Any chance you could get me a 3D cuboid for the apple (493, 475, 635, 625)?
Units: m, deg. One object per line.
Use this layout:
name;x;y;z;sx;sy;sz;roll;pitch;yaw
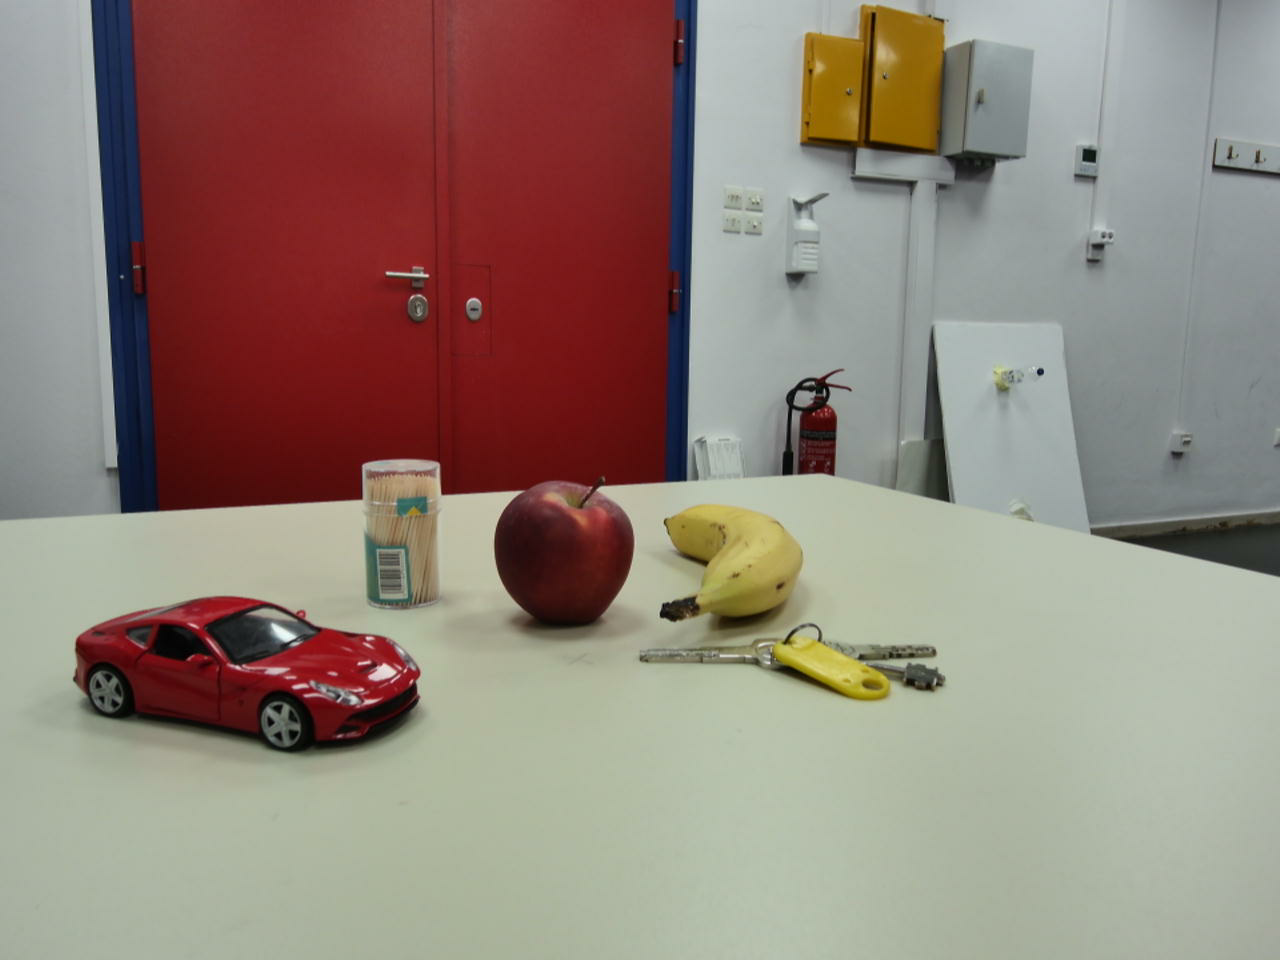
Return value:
apple;-0.038;0.034;0.502;0.070;0.072;0.070;0;7;0
